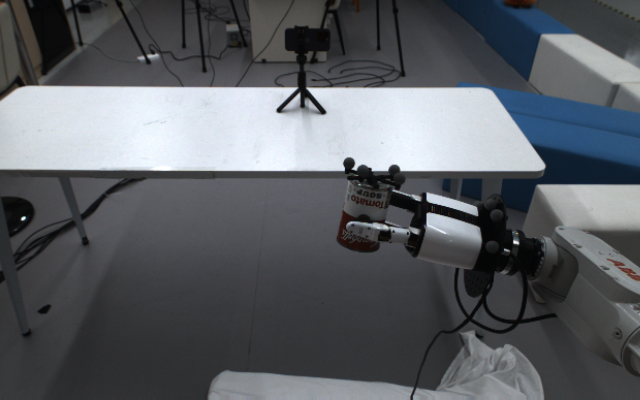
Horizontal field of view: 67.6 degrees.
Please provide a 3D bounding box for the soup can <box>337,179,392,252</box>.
[{"bbox_3d":[0.068,0.017,0.724,0.067,0.101,0.067,9,20,-3],"label":"soup can"}]
